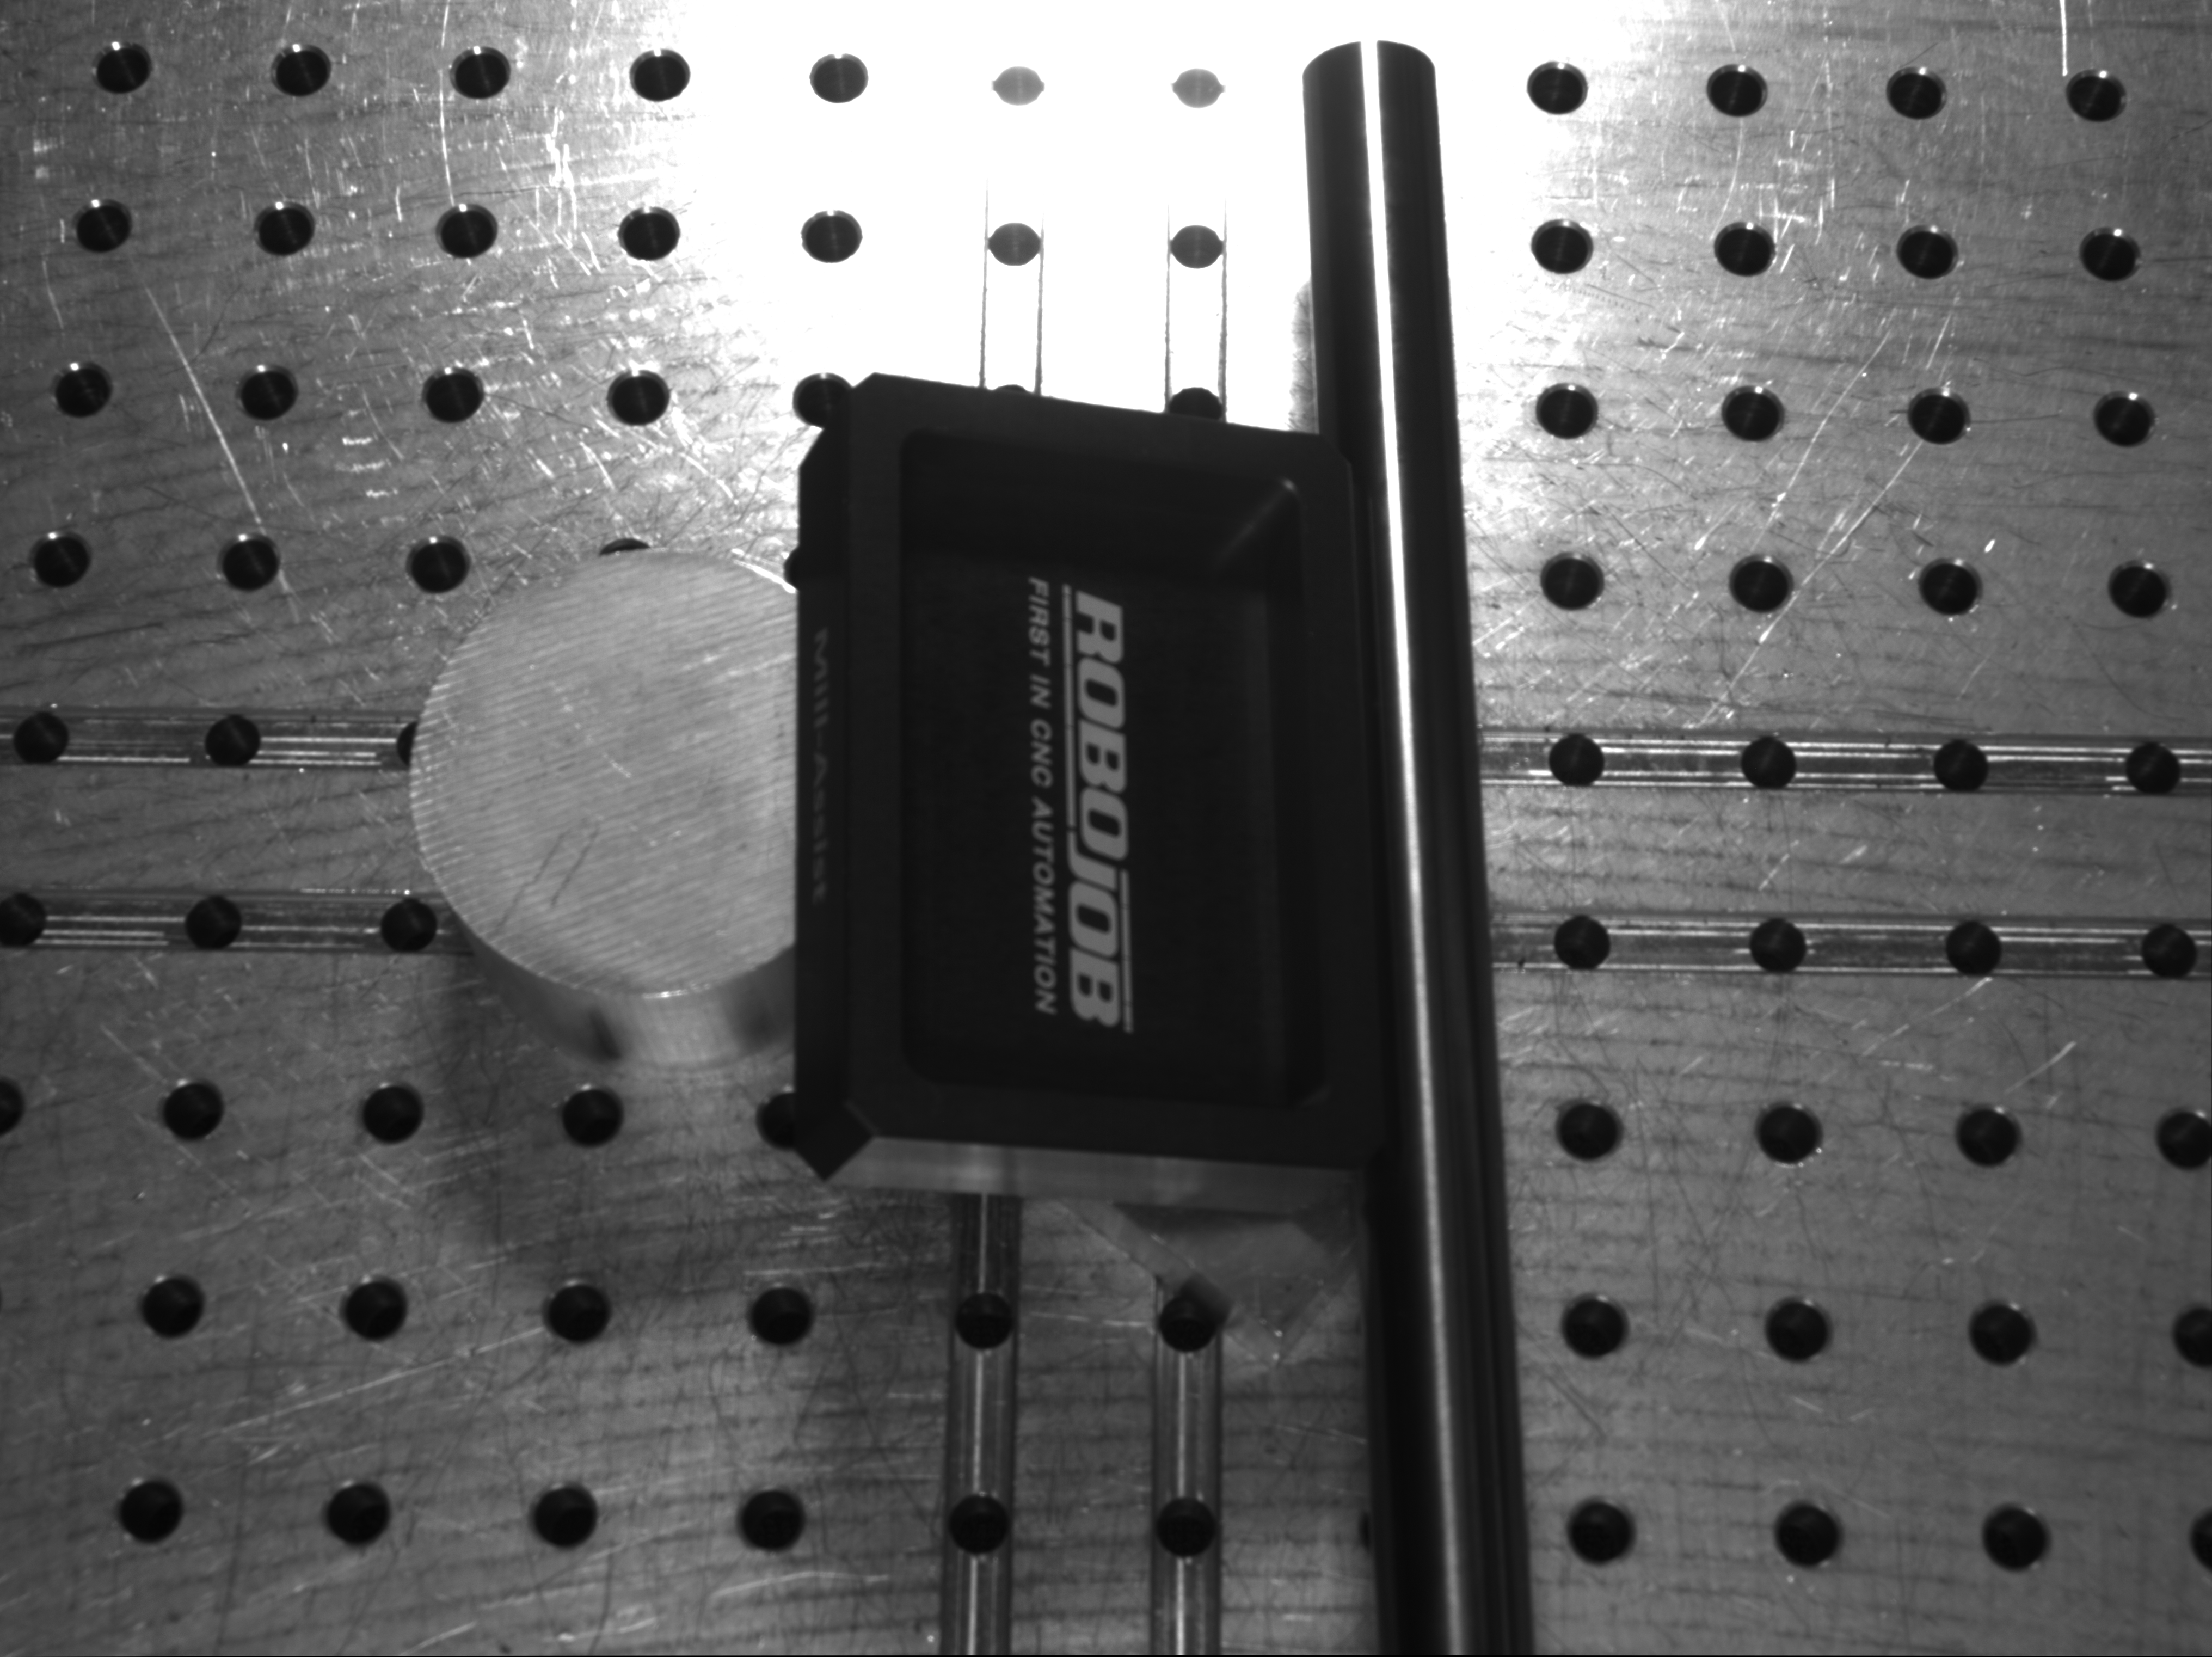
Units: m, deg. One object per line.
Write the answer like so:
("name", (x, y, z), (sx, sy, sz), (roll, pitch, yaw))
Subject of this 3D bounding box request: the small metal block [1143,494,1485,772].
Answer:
("small metal block", (0.036, -0.027, 0.658), (0.050, 0.025, 0.050), (-14, 70, -5))

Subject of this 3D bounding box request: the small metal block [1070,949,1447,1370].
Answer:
("small metal block", (0.026, 0.056, 0.626), (0.050, 0.025, 0.050), (37, 74, 13))

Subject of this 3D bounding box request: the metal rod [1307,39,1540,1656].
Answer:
("metal rod", (0.053, 0.003, 0.619), (0.025, 0.025, 0.300), (-1, 70, 0))

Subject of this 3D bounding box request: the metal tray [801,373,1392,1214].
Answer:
("metal tray", (-0.003, -0.005, 0.604), (0.090, 0.030, 0.130), (6, 69, -19))

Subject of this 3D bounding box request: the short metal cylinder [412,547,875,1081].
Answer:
("short metal cylinder", (-0.075, -0.002, 0.634), (0.080, 0.050, 0.080), (0, 70, 0))
